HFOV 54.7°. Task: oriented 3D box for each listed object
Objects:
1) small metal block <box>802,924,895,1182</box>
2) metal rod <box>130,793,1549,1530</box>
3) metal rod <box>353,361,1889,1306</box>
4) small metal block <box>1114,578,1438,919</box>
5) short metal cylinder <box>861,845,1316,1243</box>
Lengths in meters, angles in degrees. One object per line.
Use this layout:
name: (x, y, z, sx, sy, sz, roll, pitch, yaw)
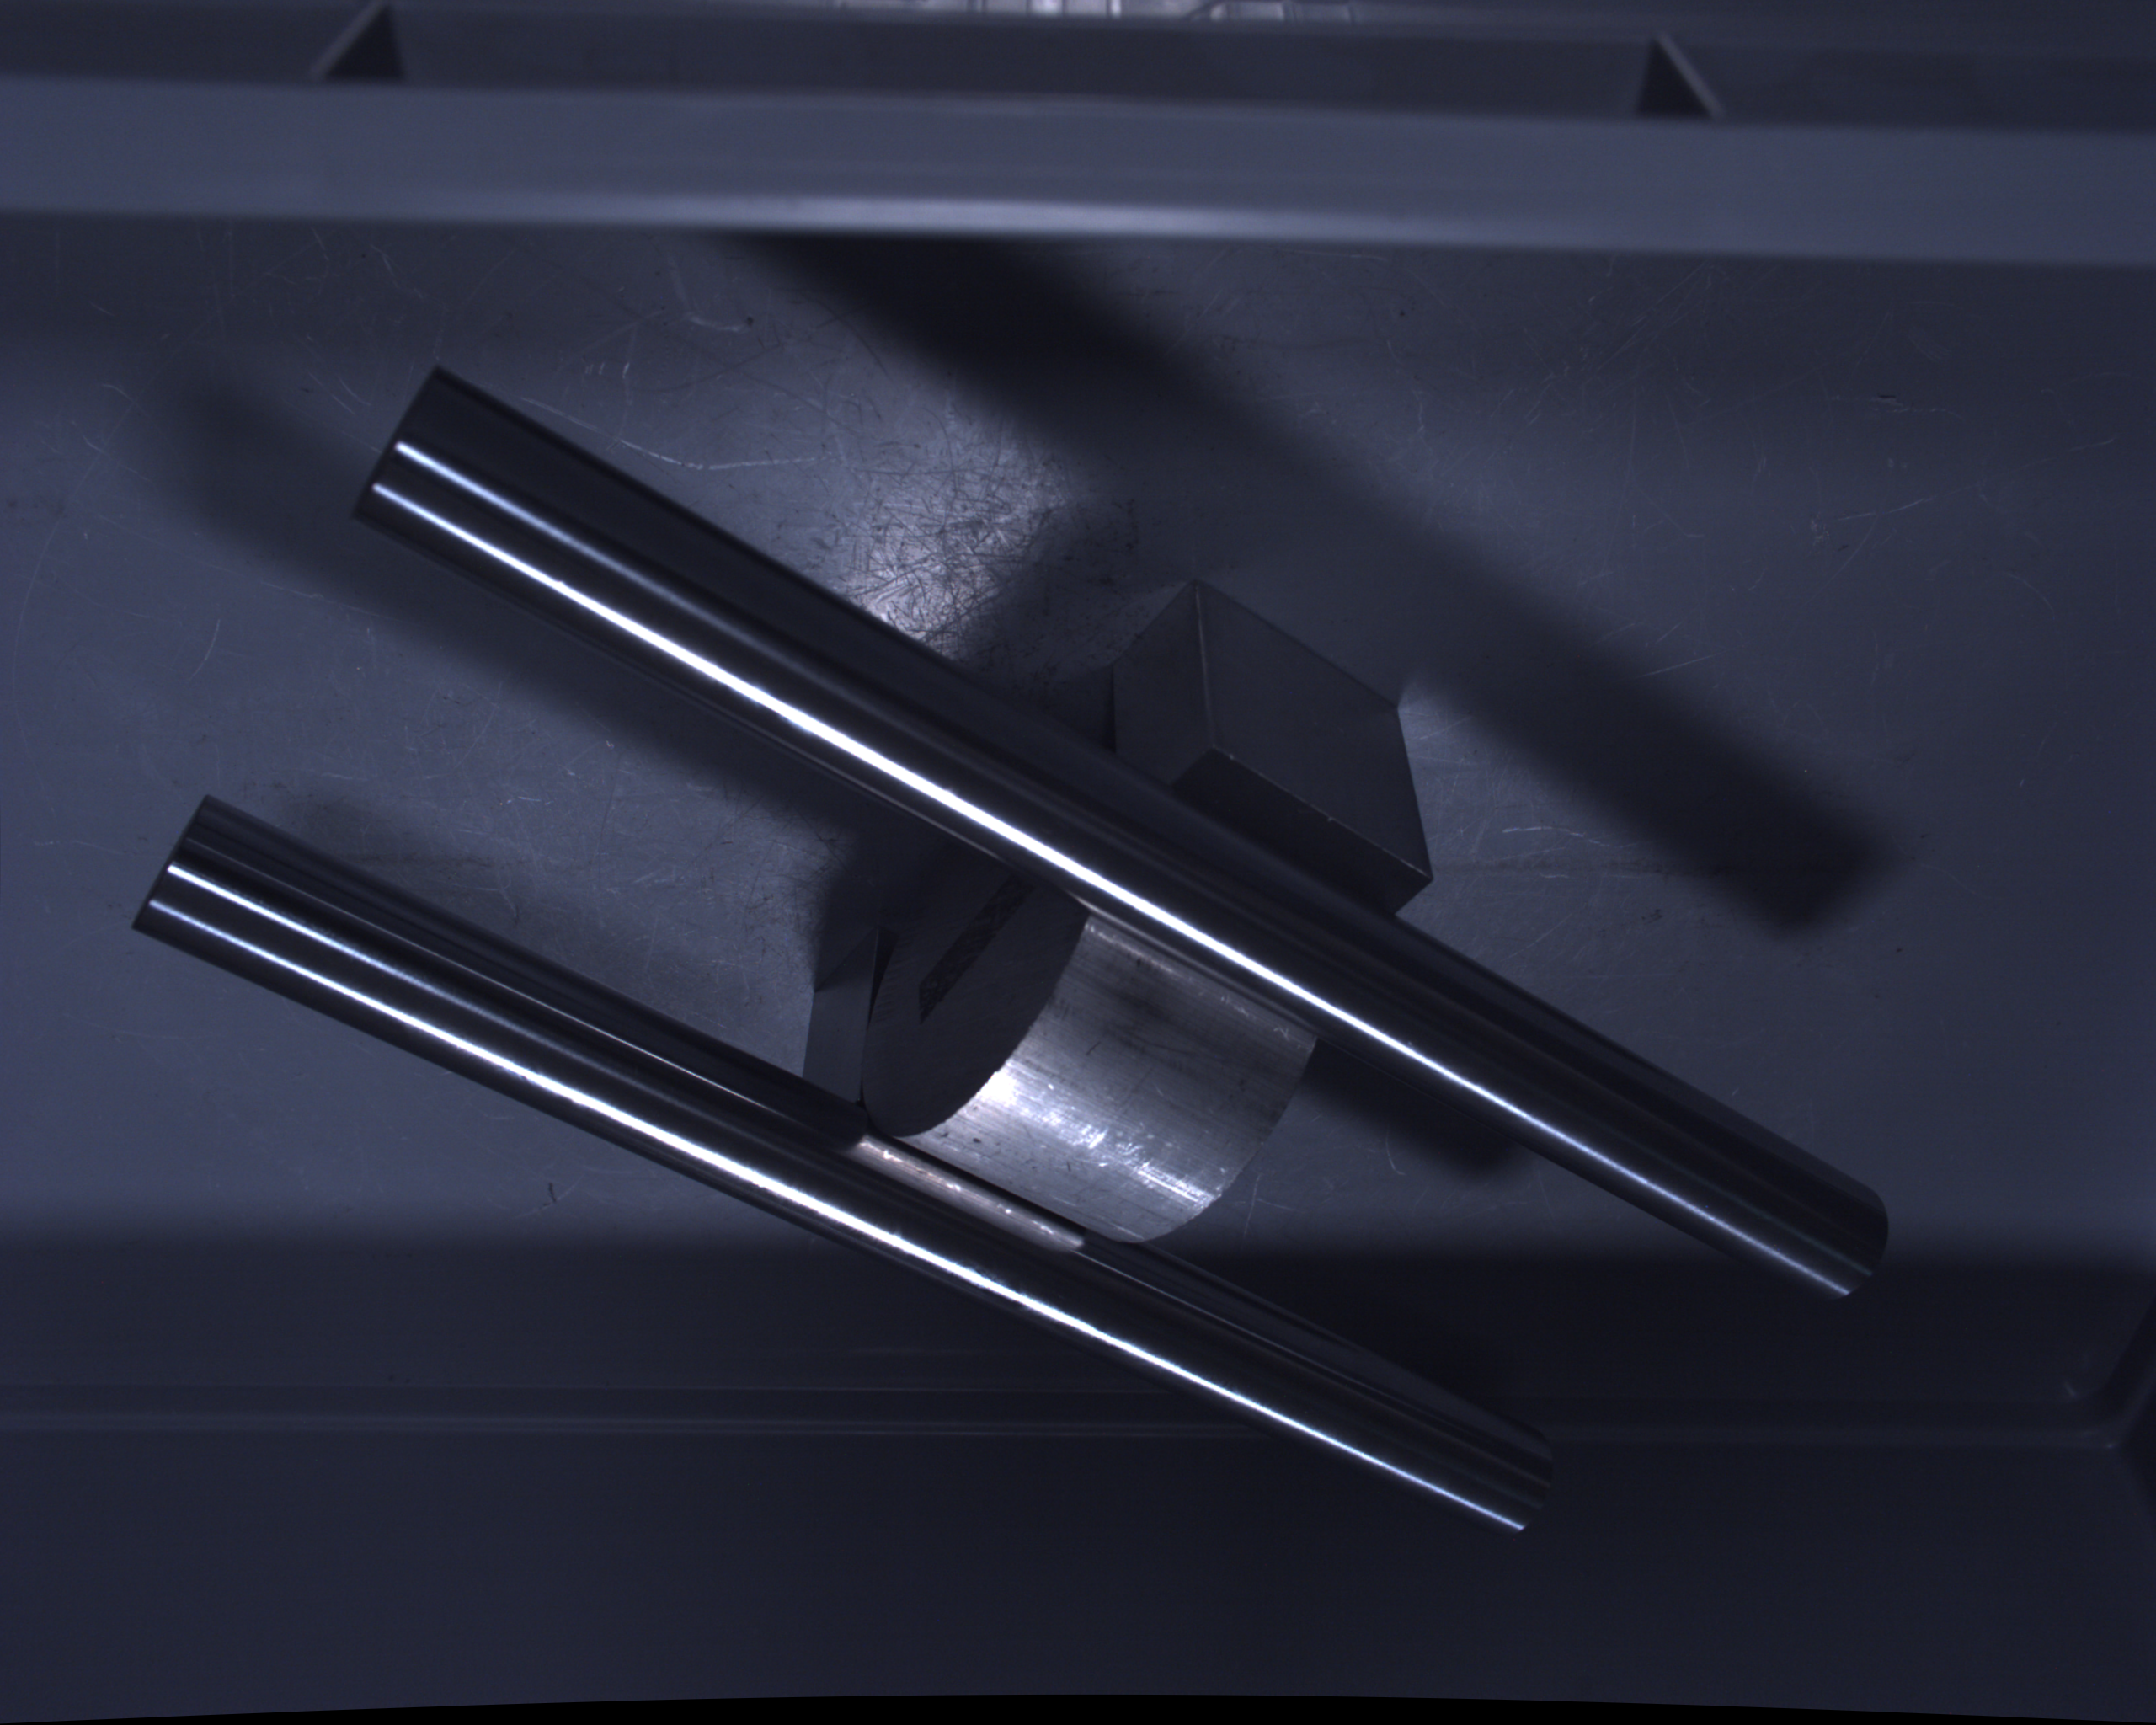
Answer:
small metal block: (-0.029, 0.048, 0.431, 0.050, 0.050, 0.025, 30, 124, -23)
metal rod: (-0.027, 0.067, 0.400, 0.301, 0.025, 0.025, 29, 124, -23)
metal rod: (0.027, 0.008, 0.349, 0.301, 0.025, 0.025, 29, 124, -23)
small metal block: (0.034, -0.017, 0.376, 0.050, 0.050, 0.025, 30, 124, -23)
short metal cylinder: (0.002, 0.025, 0.392, 0.050, 0.080, 0.080, 30, 124, -23)
